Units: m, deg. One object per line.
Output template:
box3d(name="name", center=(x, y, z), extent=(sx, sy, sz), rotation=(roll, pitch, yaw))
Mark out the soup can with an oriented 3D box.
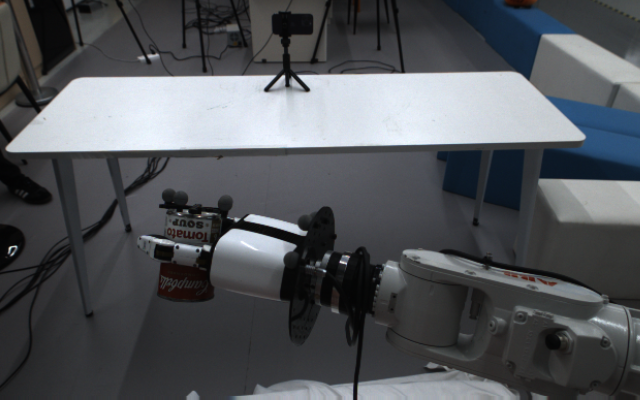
box3d(name="soup can", center=(-0.154, 0.066, 0.581), extent=(0.067, 0.101, 0.067), rotation=(7, 3, 0))
